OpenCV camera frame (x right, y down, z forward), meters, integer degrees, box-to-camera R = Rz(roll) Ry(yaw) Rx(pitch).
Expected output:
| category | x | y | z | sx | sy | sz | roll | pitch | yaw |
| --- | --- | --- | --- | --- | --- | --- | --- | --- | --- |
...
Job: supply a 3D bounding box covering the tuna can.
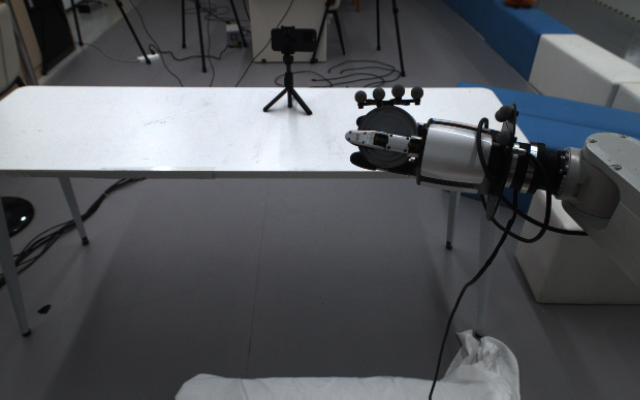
| category | x | y | z | sx | sy | sz | roll | pitch | yaw |
| --- | --- | --- | --- | --- | --- | --- | --- | --- | --- |
| tuna can | 0.097 | -0.090 | 0.684 | 0.085 | 0.085 | 0.034 | 15 | 10 | 18 |
